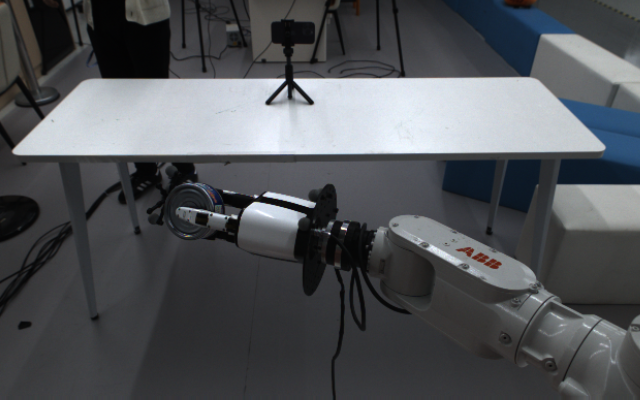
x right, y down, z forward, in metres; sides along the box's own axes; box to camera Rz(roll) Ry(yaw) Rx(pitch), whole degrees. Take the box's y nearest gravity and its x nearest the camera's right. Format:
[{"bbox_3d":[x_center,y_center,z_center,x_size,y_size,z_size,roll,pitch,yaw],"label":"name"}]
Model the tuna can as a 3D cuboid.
[{"bbox_3d":[-0.187,0.016,0.719,0.085,0.085,0.034,12,6,14],"label":"tuna can"}]
